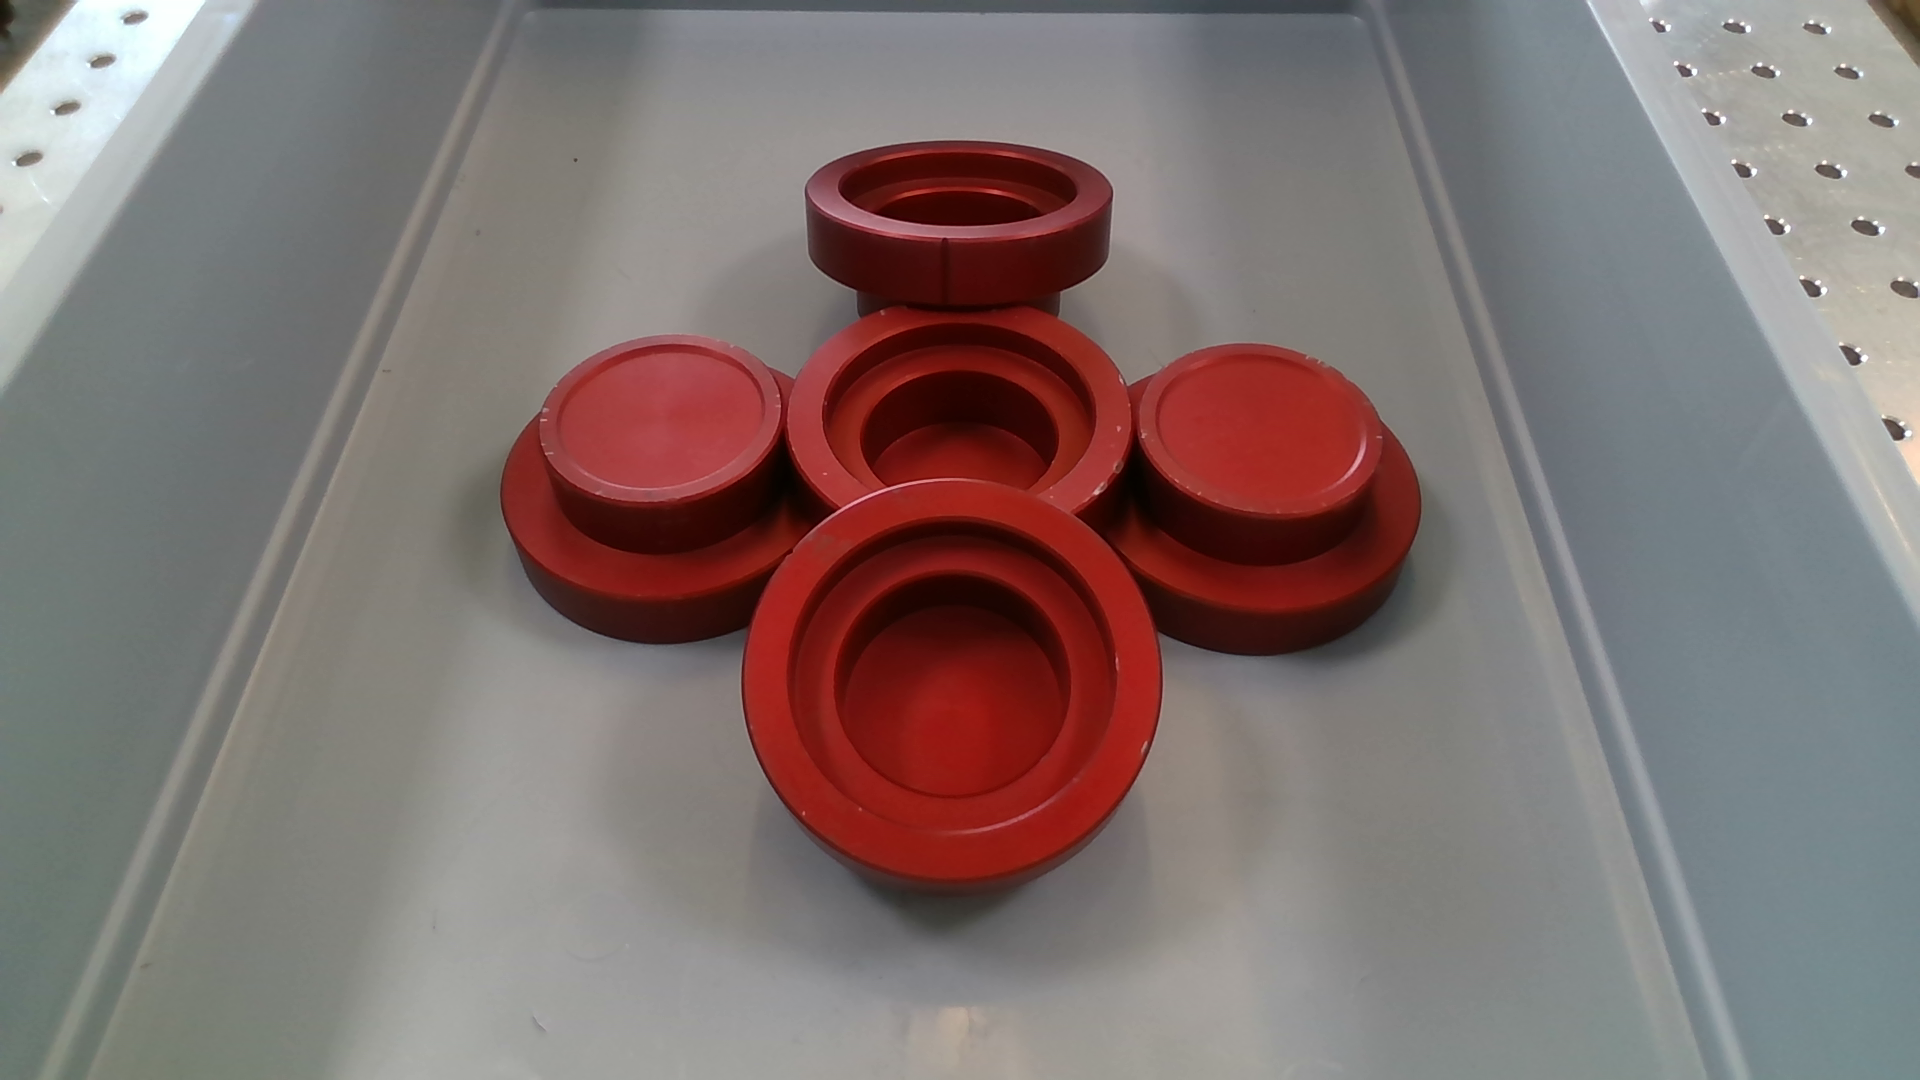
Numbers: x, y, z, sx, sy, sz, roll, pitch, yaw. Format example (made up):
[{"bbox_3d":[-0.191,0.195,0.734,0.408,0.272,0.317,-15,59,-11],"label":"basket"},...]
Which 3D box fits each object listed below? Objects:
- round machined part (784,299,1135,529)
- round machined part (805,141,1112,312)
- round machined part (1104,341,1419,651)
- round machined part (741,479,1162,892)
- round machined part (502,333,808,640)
[{"bbox_3d":[0.000,-0.024,0.400,0.098,0.042,0.098,0,50,0],"label":"round machined part"},{"bbox_3d":[0.000,-0.095,0.450,0.098,0.042,0.098,0,33,0],"label":"round machined part"},{"bbox_3d":[0.083,-0.020,0.397,0.098,0.042,0.098,0,50,0],"label":"round machined part"},{"bbox_3d":[-0.002,0.038,0.339,0.098,0.042,0.098,0,67,0],"label":"round machined part"},{"bbox_3d":[-0.083,-0.022,0.400,0.098,0.042,0.098,0,50,0],"label":"round machined part"}]
